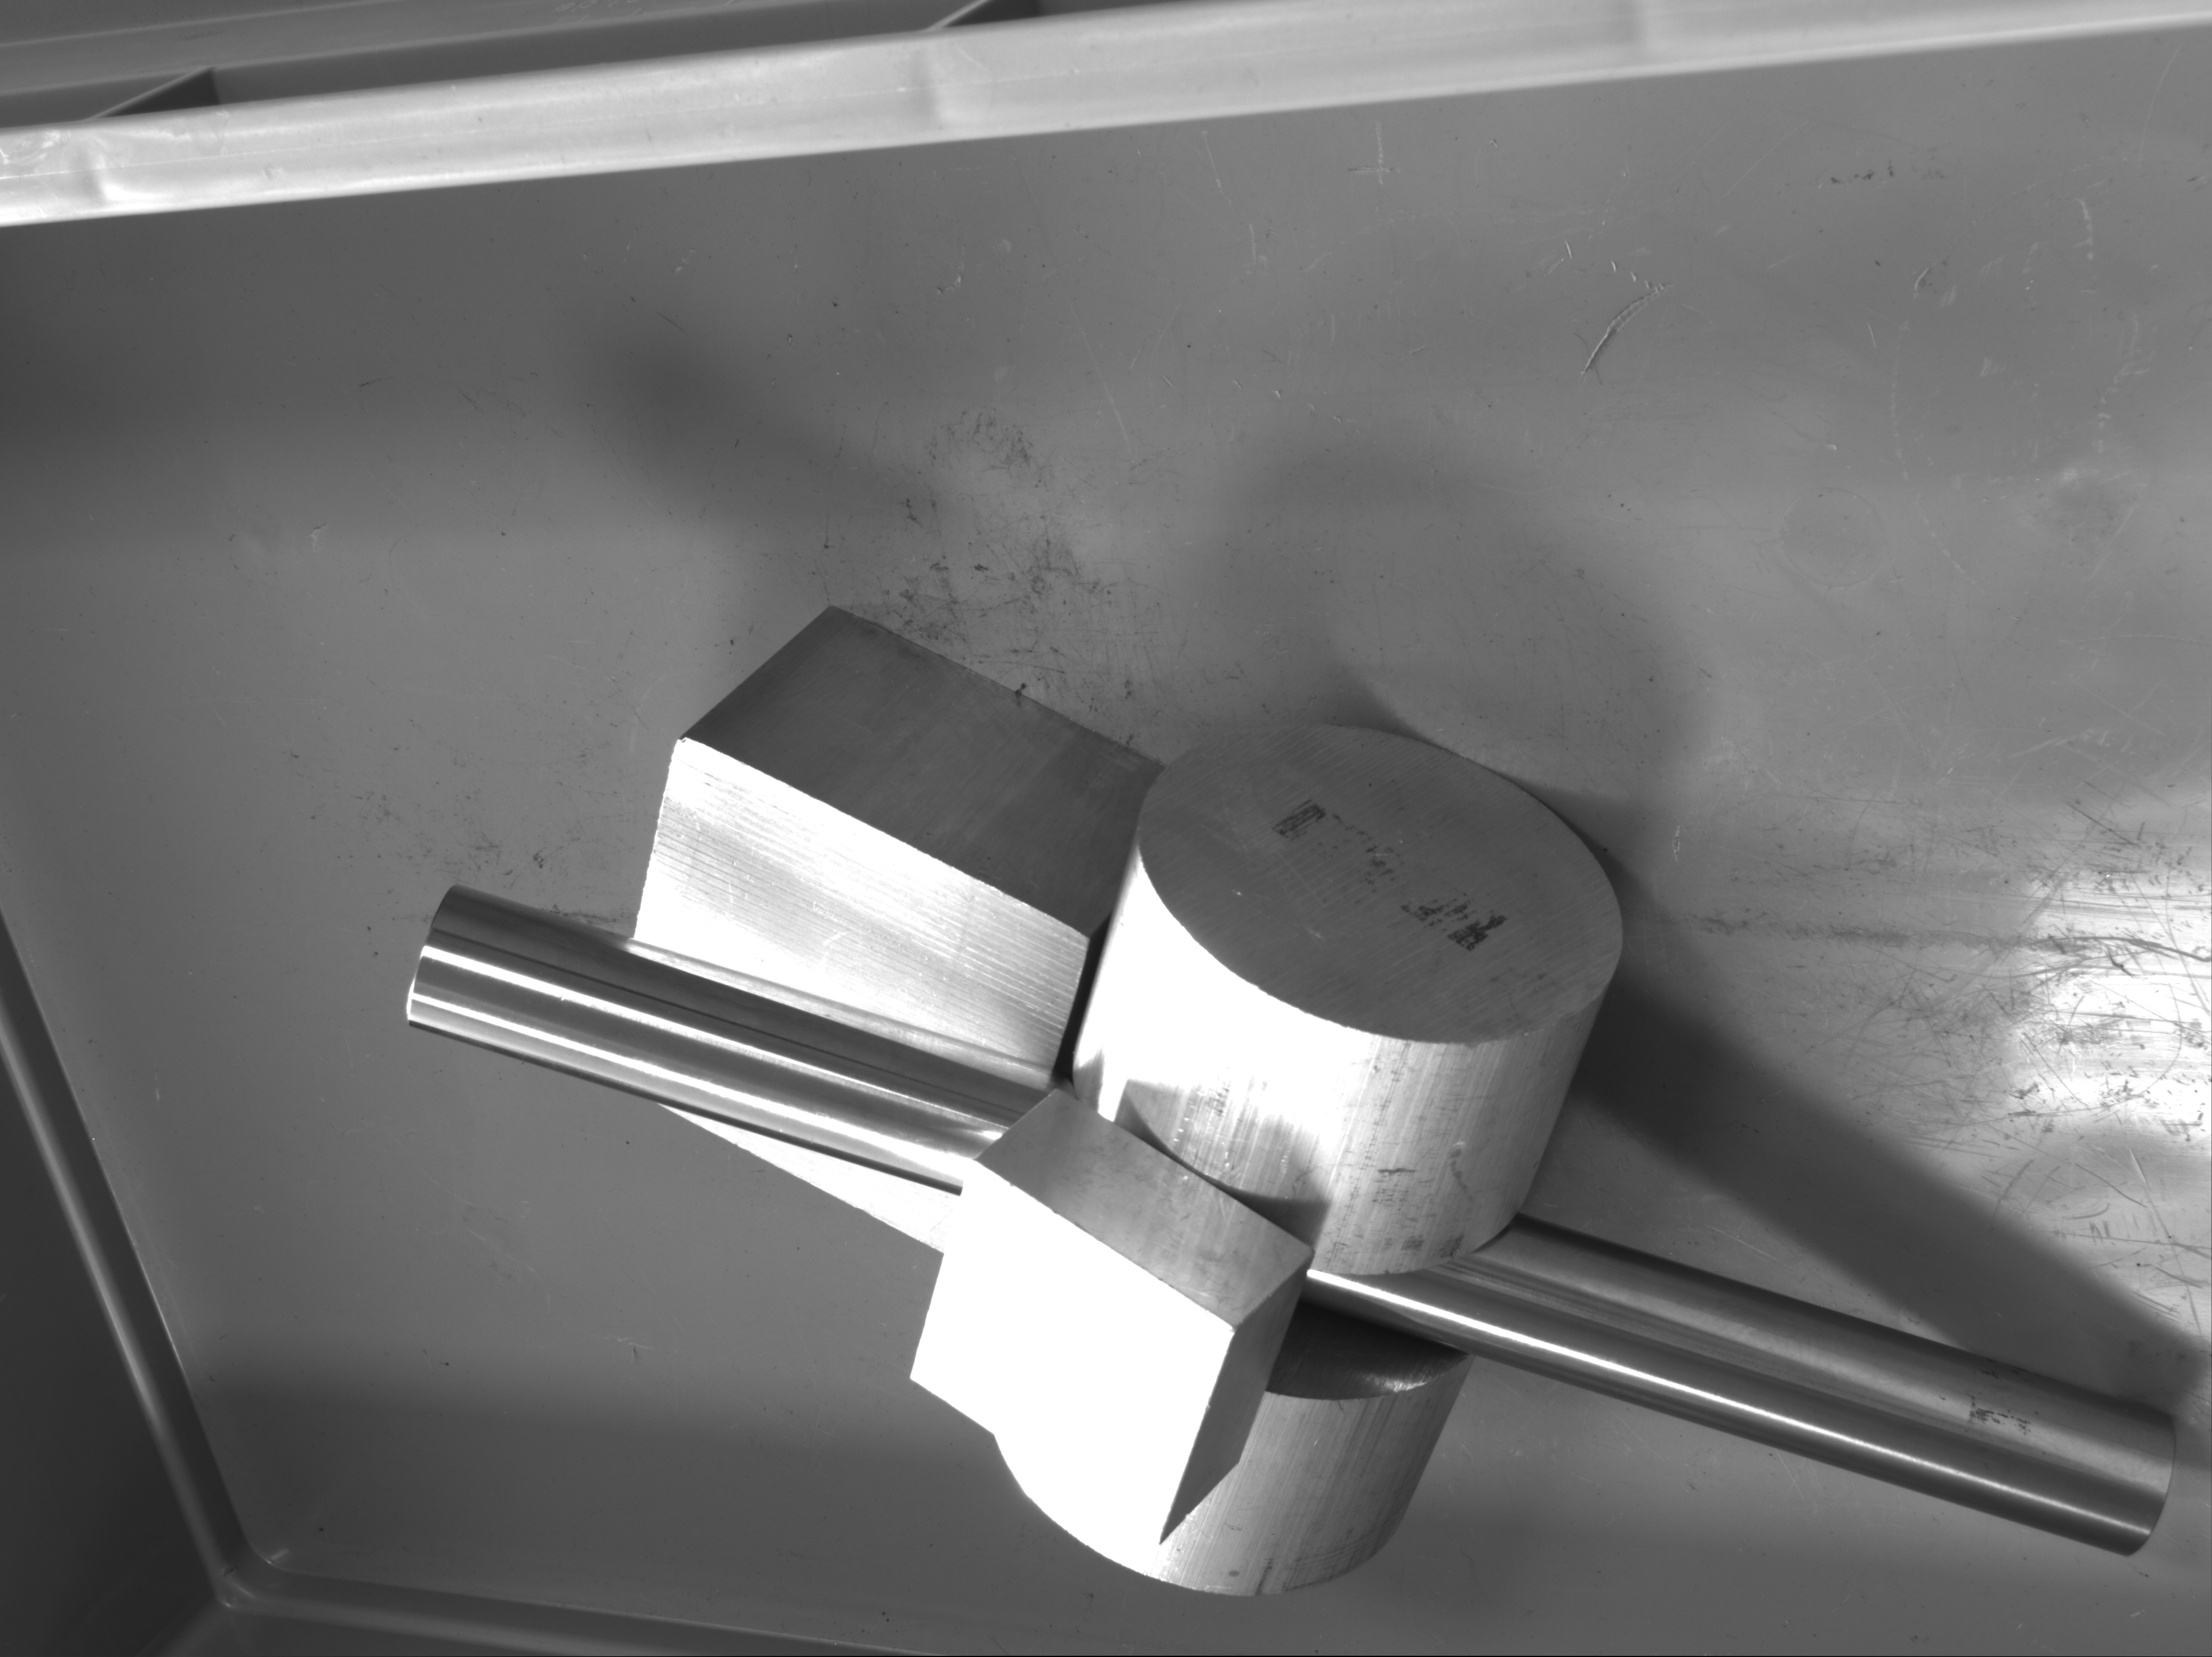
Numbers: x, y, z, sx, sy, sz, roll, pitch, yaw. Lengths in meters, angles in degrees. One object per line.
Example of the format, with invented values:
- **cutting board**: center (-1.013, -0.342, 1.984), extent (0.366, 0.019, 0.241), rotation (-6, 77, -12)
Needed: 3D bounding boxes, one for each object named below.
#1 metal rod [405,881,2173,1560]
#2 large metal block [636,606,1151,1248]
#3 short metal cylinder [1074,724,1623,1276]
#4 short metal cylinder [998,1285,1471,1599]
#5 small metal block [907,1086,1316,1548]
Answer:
- **metal rod**: center (0.031, 0.066, 0.614), extent (0.300, 0.025, 0.025), rotation (17, 127, -1)
- **large metal block**: center (-0.036, 0.020, 0.654), extent (0.080, 0.050, 0.080), rotation (26, 128, 12)
- **short metal cylinder**: center (0.039, 0.027, 0.602), extent (0.080, 0.080, 0.050), rotation (25, 127, 13)
- **short metal cylinder**: center (0.023, 0.088, 0.647), extent (0.080, 0.080, 0.050), rotation (27, 128, 12)
- **small metal block**: center (0.000, 0.078, 0.587), extent (0.050, 0.025, 0.050), rotation (31, 129, 19)
